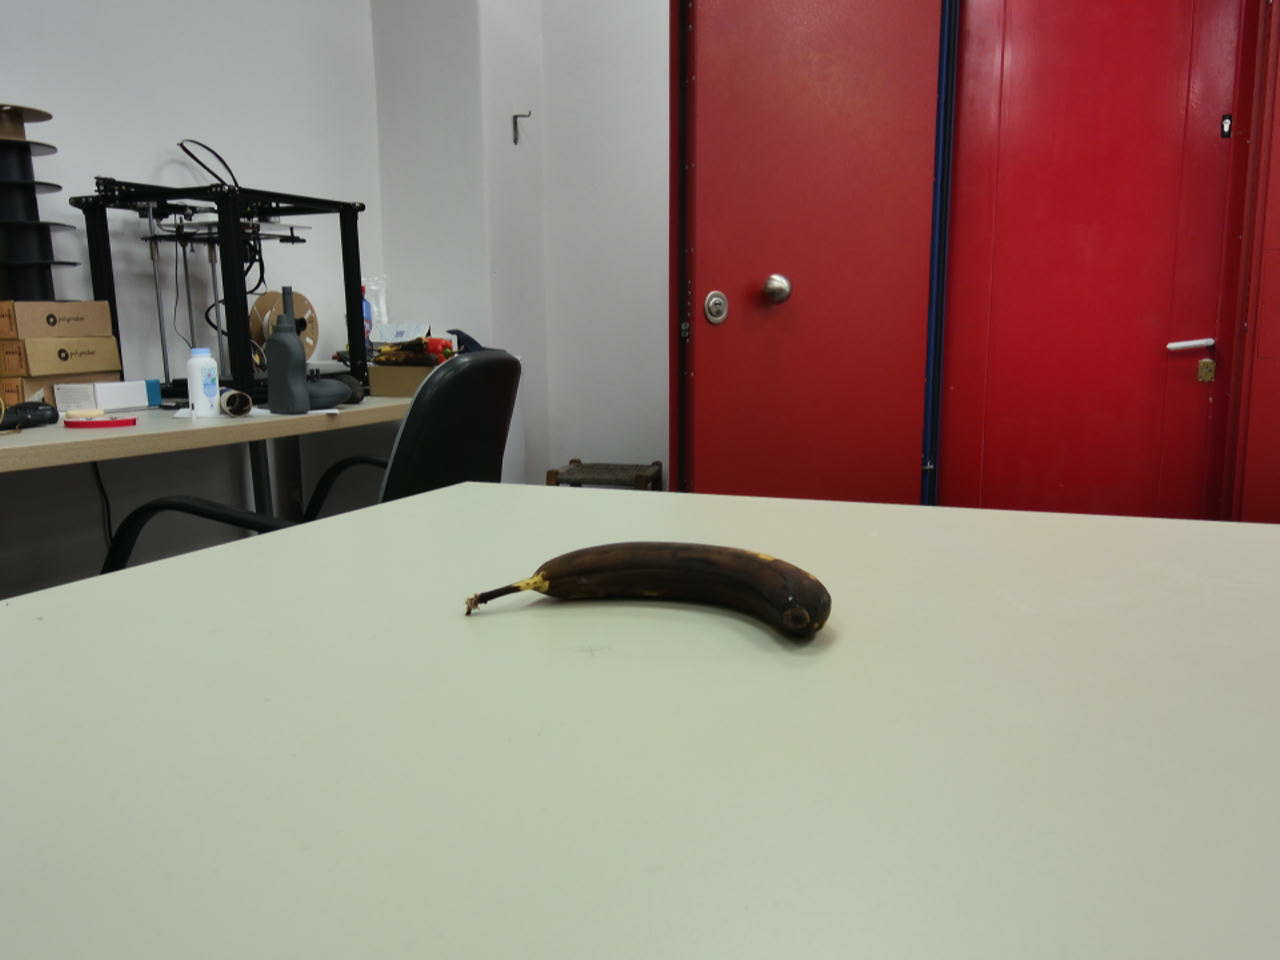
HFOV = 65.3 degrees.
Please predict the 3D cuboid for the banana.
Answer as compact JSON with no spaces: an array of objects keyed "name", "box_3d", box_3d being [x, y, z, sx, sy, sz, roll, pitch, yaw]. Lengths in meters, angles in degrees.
[{"name":"banana","box_3d":[0.013,0.053,0.526,0.188,0.033,0.091,3,7,25]}]
